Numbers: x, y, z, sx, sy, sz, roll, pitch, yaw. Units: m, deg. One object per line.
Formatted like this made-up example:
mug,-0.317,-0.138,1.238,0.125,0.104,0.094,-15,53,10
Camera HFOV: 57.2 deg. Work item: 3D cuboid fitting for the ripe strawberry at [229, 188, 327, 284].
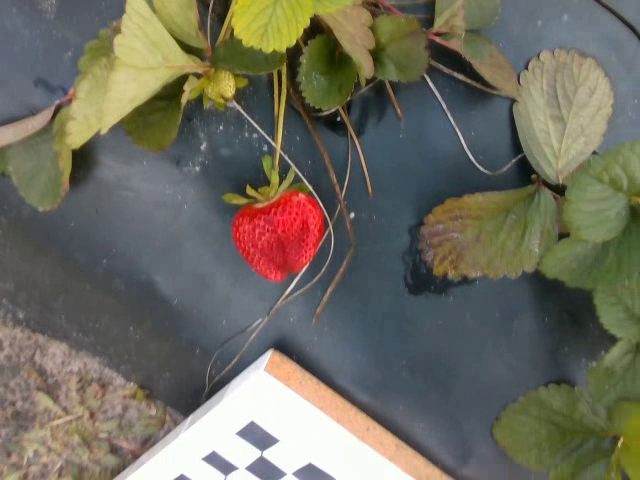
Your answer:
ripe strawberry,-0.007,0.001,0.084,0.017,0.015,0.014,-18,-19,28
